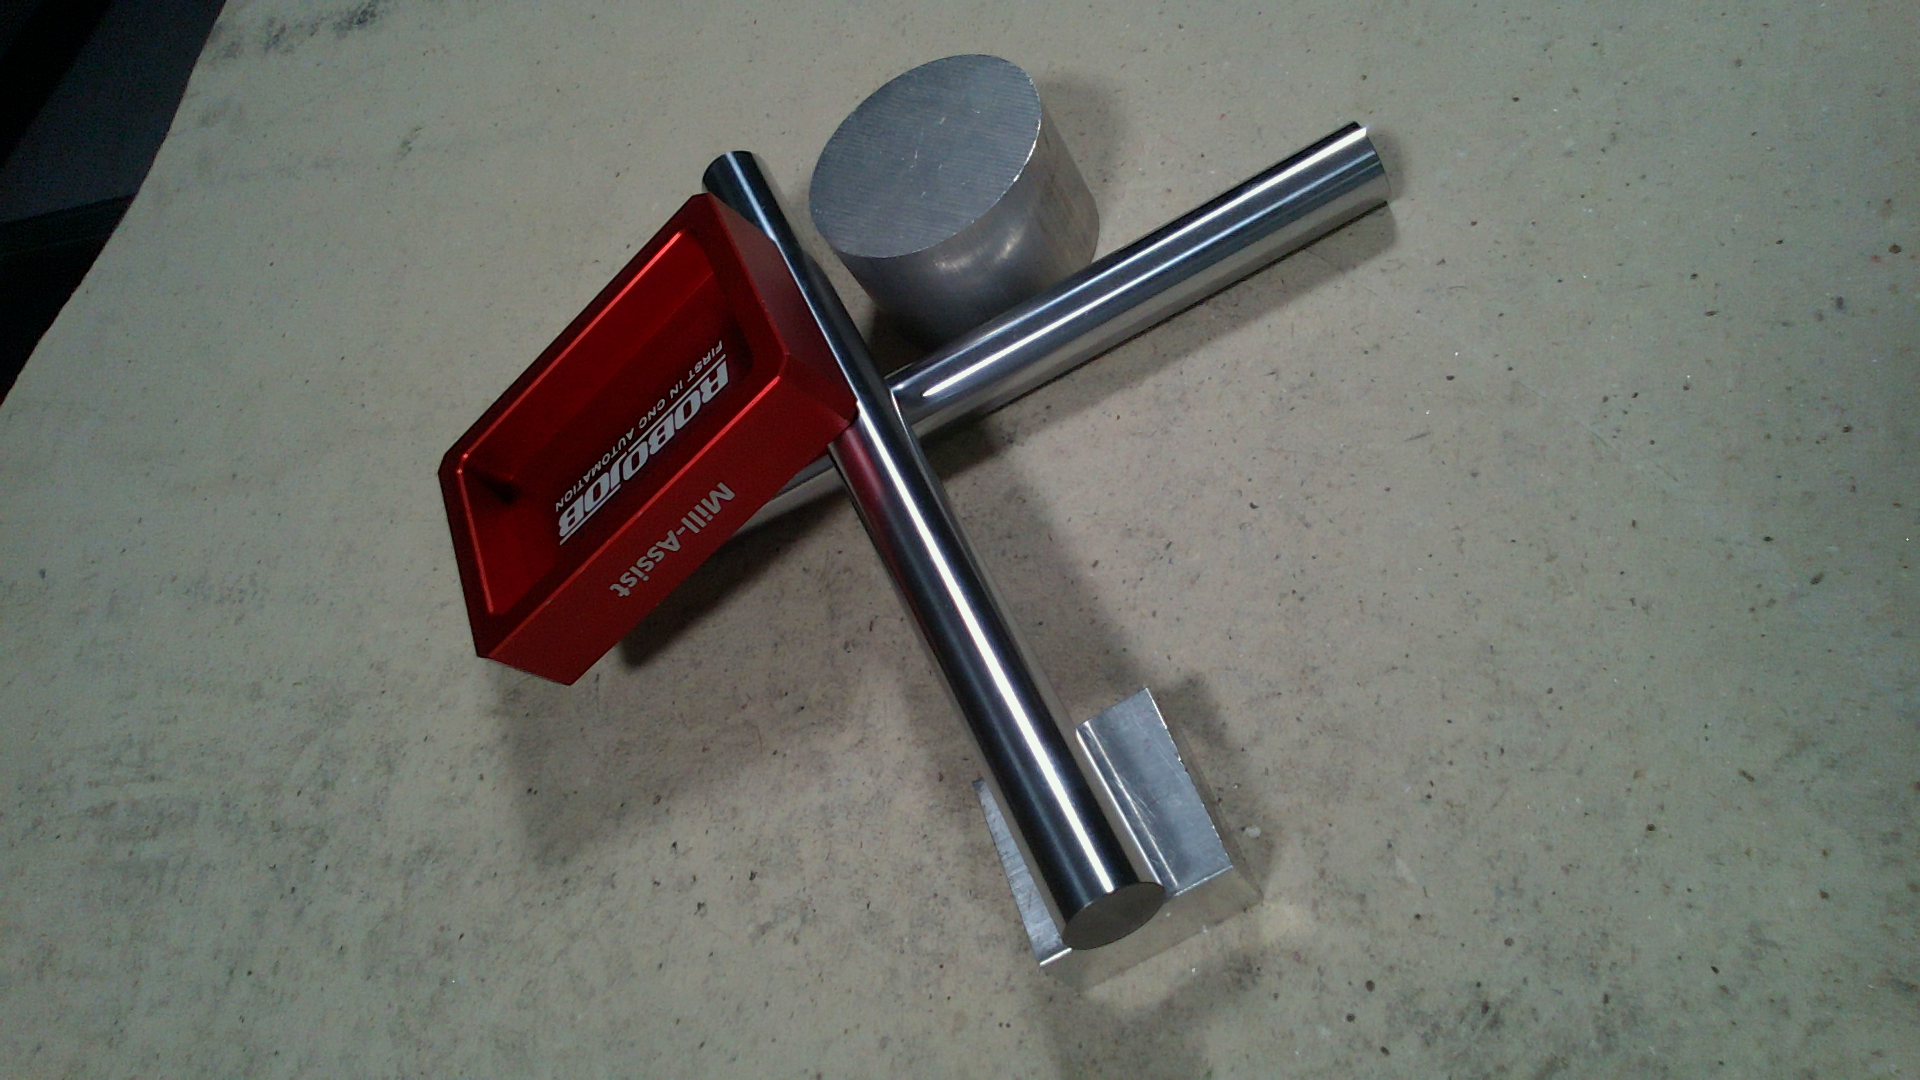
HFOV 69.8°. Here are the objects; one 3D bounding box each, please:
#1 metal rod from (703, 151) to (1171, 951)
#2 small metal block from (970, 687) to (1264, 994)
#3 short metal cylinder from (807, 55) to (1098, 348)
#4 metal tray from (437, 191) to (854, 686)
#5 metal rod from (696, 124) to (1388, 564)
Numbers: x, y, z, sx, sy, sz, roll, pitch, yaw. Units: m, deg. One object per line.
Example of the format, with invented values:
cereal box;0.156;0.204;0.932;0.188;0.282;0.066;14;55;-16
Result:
metal rod;-0.022;-0.022;0.388;0.025;0.025;0.299;-34;51;6
small metal block;0.037;0.072;0.330;0.050;0.025;0.050;-30;52;9
short metal cylinder;-0.002;-0.108;0.445;0.080;0.050;0.080;-14;56;21
metal tray;-0.099;-0.030;0.413;0.130;0.030;0.090;-42;49;15
metal rod;-0.013;-0.043;0.427;0.300;0.025;0.025;-27;52;12
